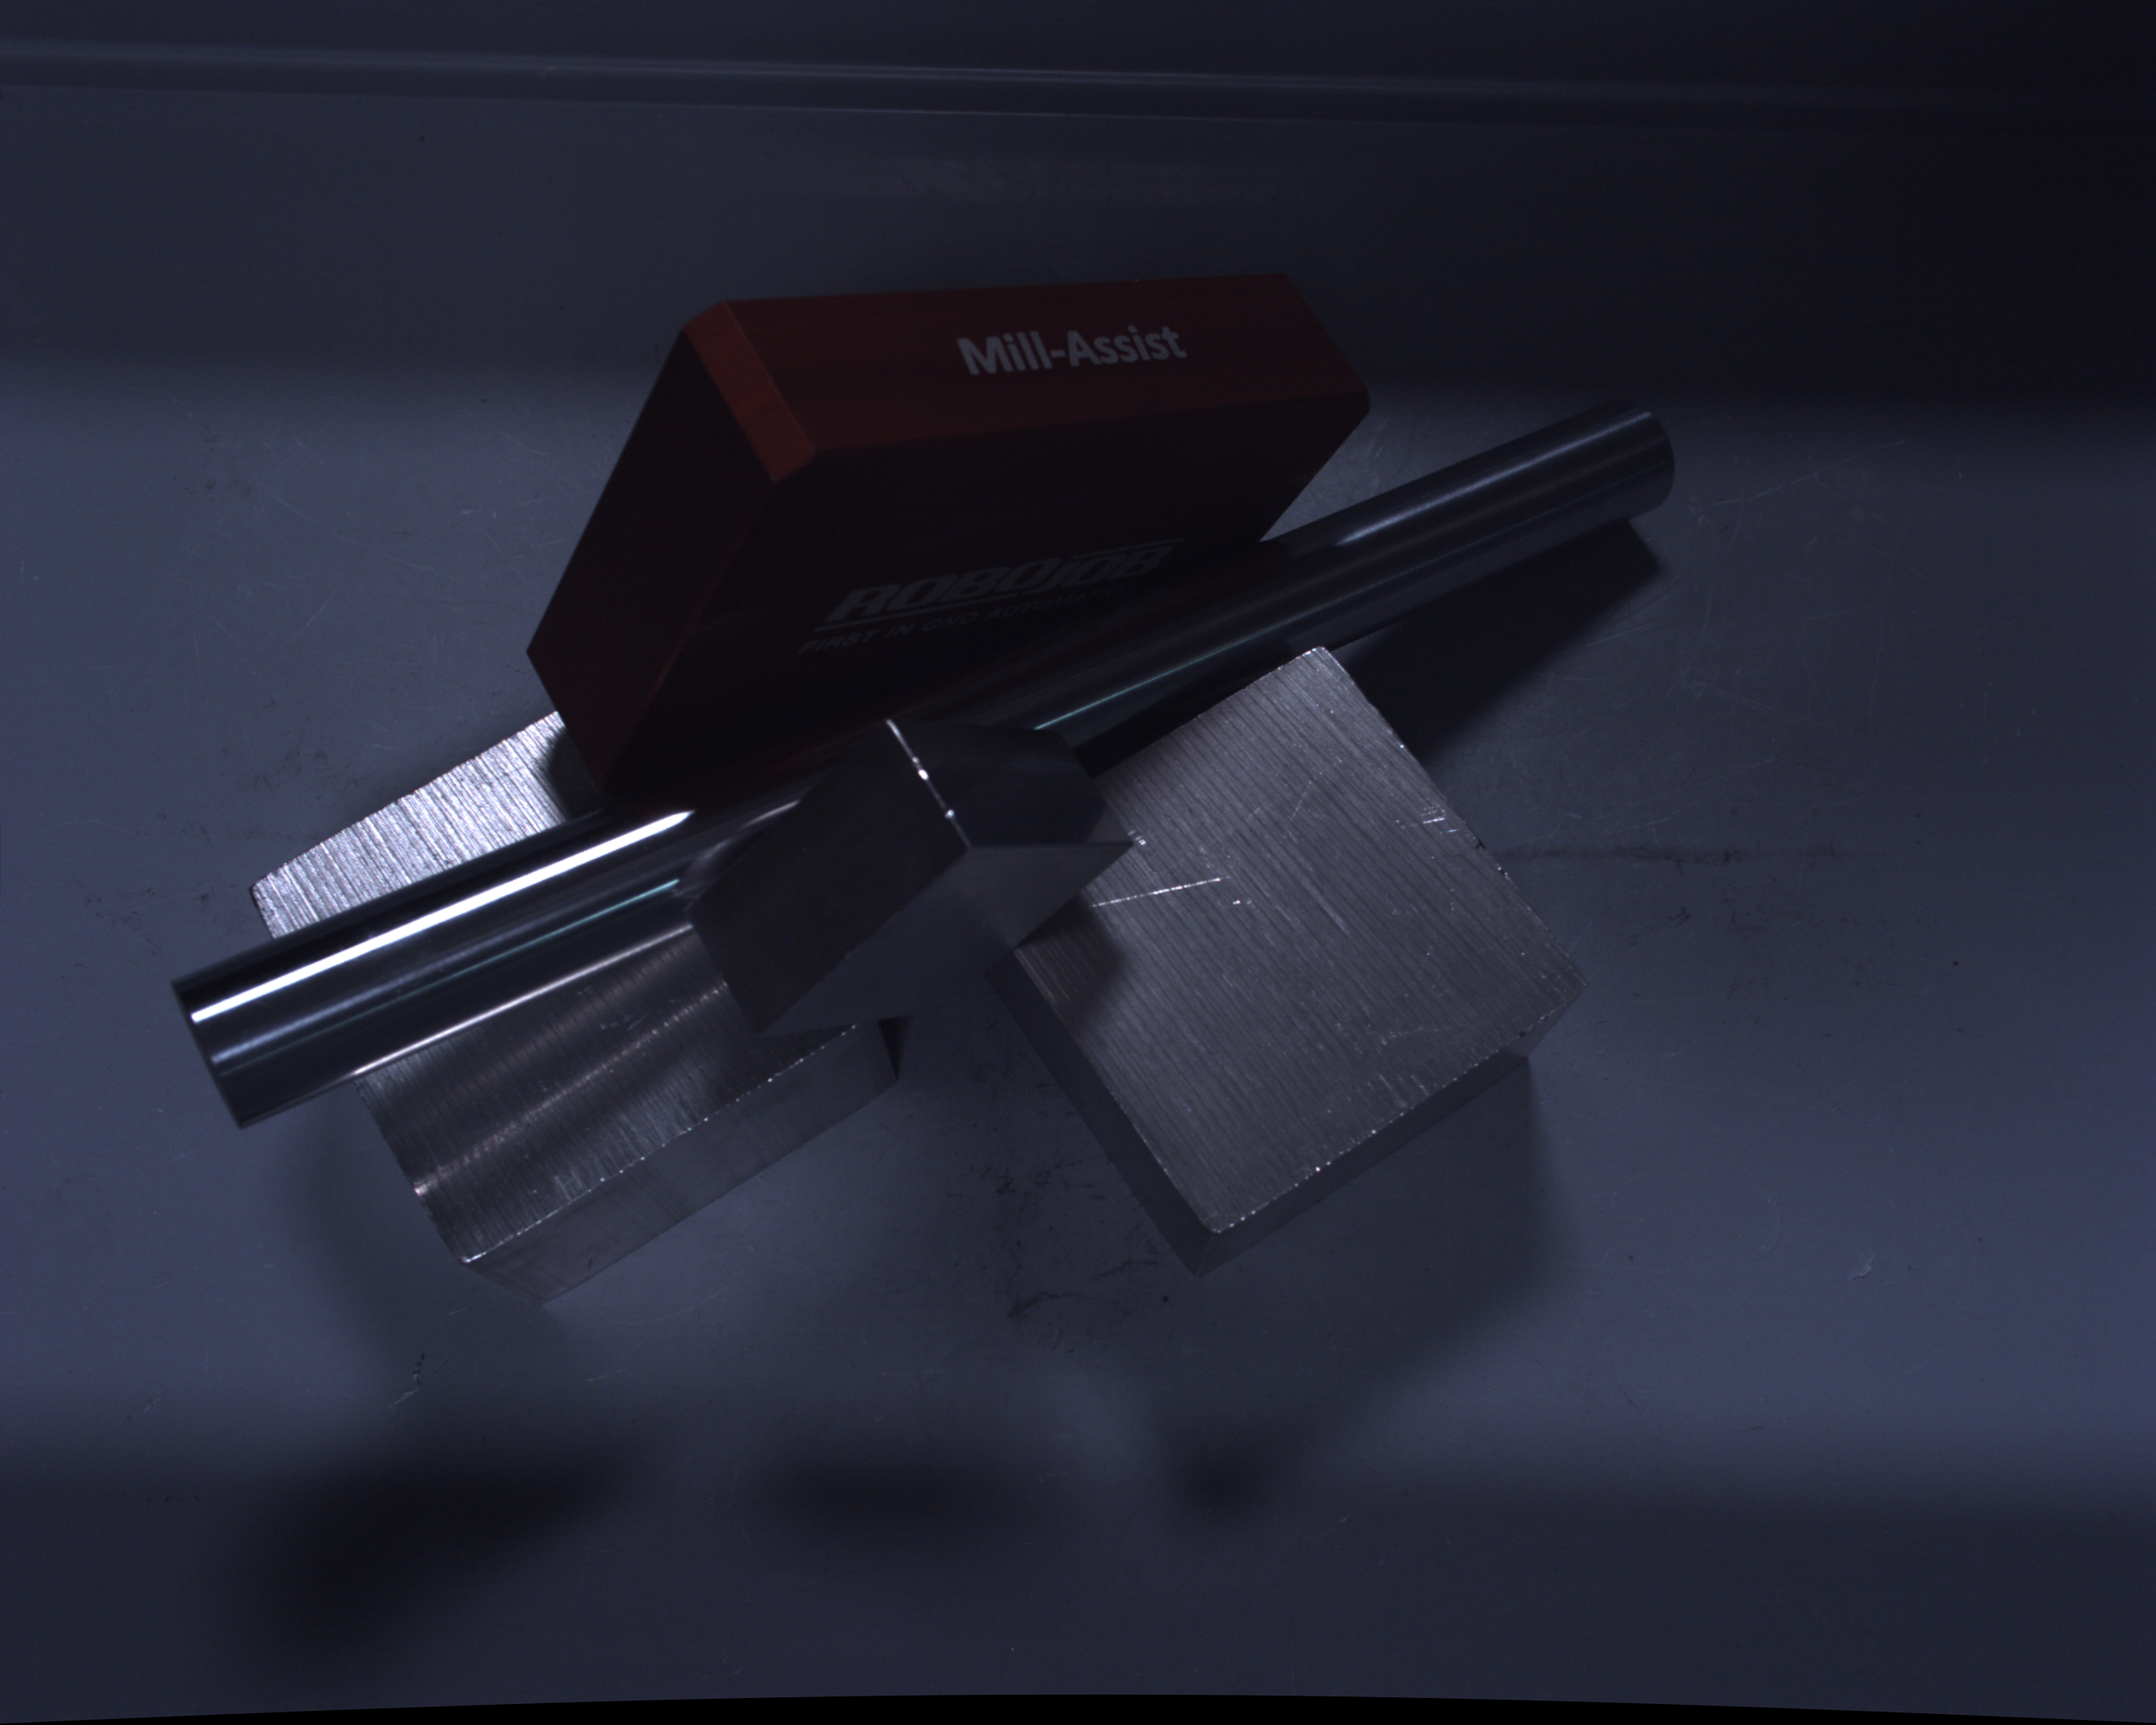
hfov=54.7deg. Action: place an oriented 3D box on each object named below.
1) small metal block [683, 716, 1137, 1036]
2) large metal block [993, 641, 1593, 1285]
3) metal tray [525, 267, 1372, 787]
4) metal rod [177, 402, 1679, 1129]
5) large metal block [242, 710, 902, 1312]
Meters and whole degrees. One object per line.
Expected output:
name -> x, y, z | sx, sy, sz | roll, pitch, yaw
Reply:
small metal block -> -0.027, 0.002, 0.342 | 0.050, 0.050, 0.025 | -40, 71, 25
large metal block -> 0.034, 0.019, 0.388 | 0.080, 0.050, 0.080 | -32, 73, -11
metal tray -> -0.021, -0.060, 0.367 | 0.131, 0.090, 0.030 | -16, 69, -40
metal rod -> -0.006, -0.028, 0.379 | 0.302, 0.025, 0.025 | -25, 72, -25
large metal block -> -0.090, 0.023, 0.383 | 0.080, 0.050, 0.080 | -32, 73, -11
